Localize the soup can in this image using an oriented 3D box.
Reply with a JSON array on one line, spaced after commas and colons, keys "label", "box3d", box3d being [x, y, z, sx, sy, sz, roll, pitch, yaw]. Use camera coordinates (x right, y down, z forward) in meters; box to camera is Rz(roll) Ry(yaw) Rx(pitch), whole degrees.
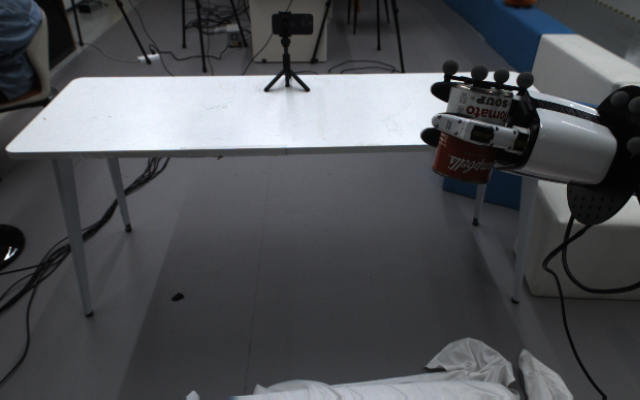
[{"label": "soup can", "box3d": [0.173, -0.077, 0.550, 0.067, 0.101, 0.067, 9, 19, -3]}]
